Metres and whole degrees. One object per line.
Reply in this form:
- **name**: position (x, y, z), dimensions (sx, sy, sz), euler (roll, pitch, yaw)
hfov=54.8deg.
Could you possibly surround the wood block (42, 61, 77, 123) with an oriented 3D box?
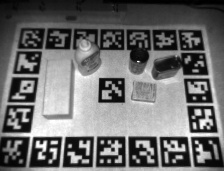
- **wood block**: position (-0.187, 0.024, 0.783), dimensions (0.091, 0.090, 0.205), euler (1, 67, -1)

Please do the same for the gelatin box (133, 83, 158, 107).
- **gelatin box**: position (0.126, 0.035, 0.811), dimensions (0.089, 0.030, 0.073), euler (9, 73, 5)

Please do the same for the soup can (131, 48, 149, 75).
- **soup can**: position (0.105, -0.088, 0.811), dimensions (0.068, 0.102, 0.068), euler (0, 72, 1)

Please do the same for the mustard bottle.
- **mustard bottle**: position (-0.090, -0.091, 0.776), dimensions (0.096, 0.192, 0.058), euler (-25, 71, -9)

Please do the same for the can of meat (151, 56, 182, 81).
- **can of meat**: position (0.203, -0.061, 0.822), dimensions (0.102, 0.084, 0.057), euler (-13, 72, -7)
